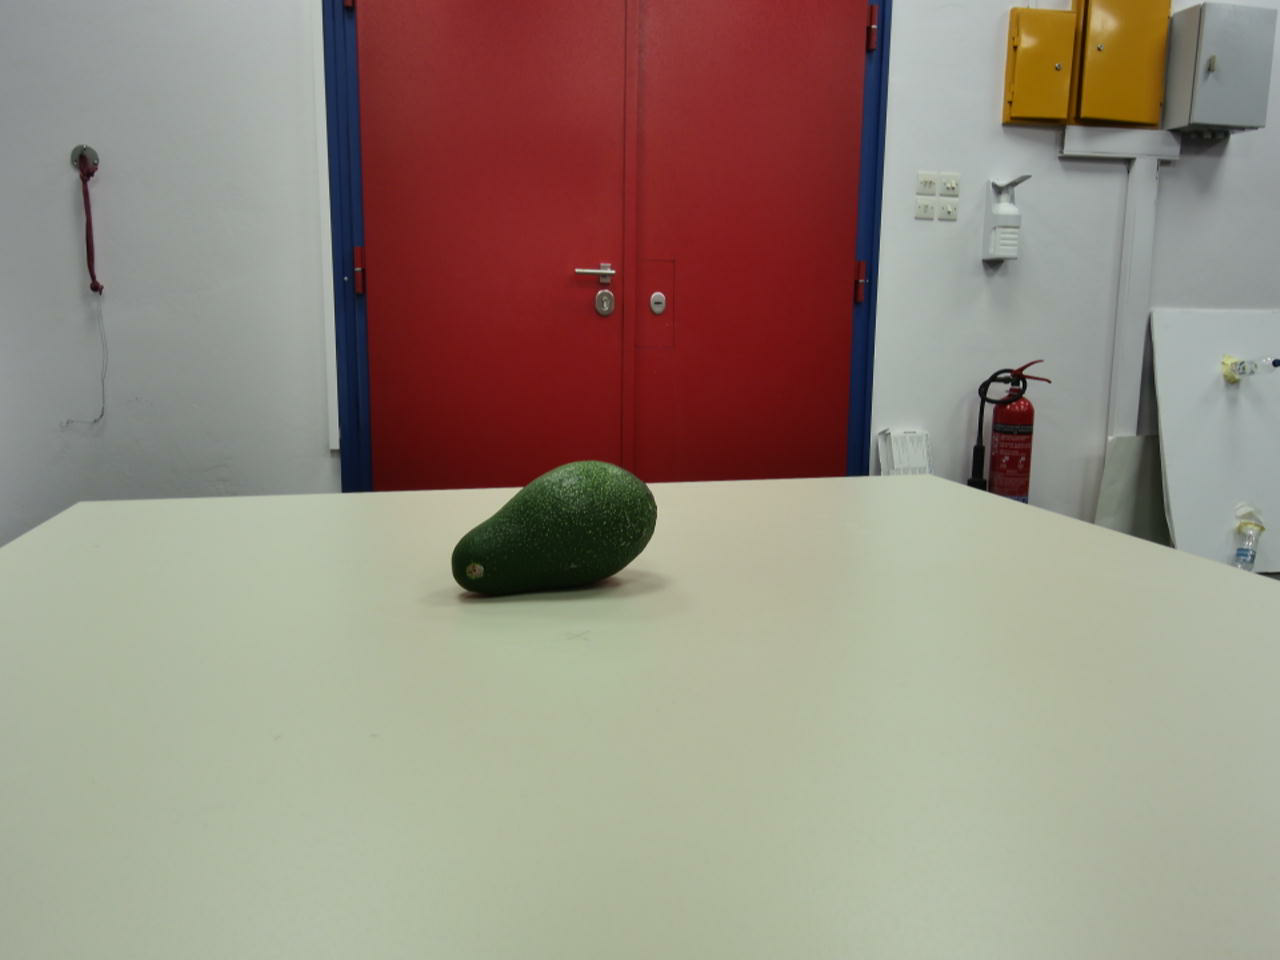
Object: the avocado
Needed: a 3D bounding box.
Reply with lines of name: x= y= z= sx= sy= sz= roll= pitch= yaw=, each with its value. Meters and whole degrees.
avocado: x=-0.050 y=0.026 z=0.603 sx=0.123 sy=0.076 sz=0.074 roll=-1 pitch=8 yaw=-7
